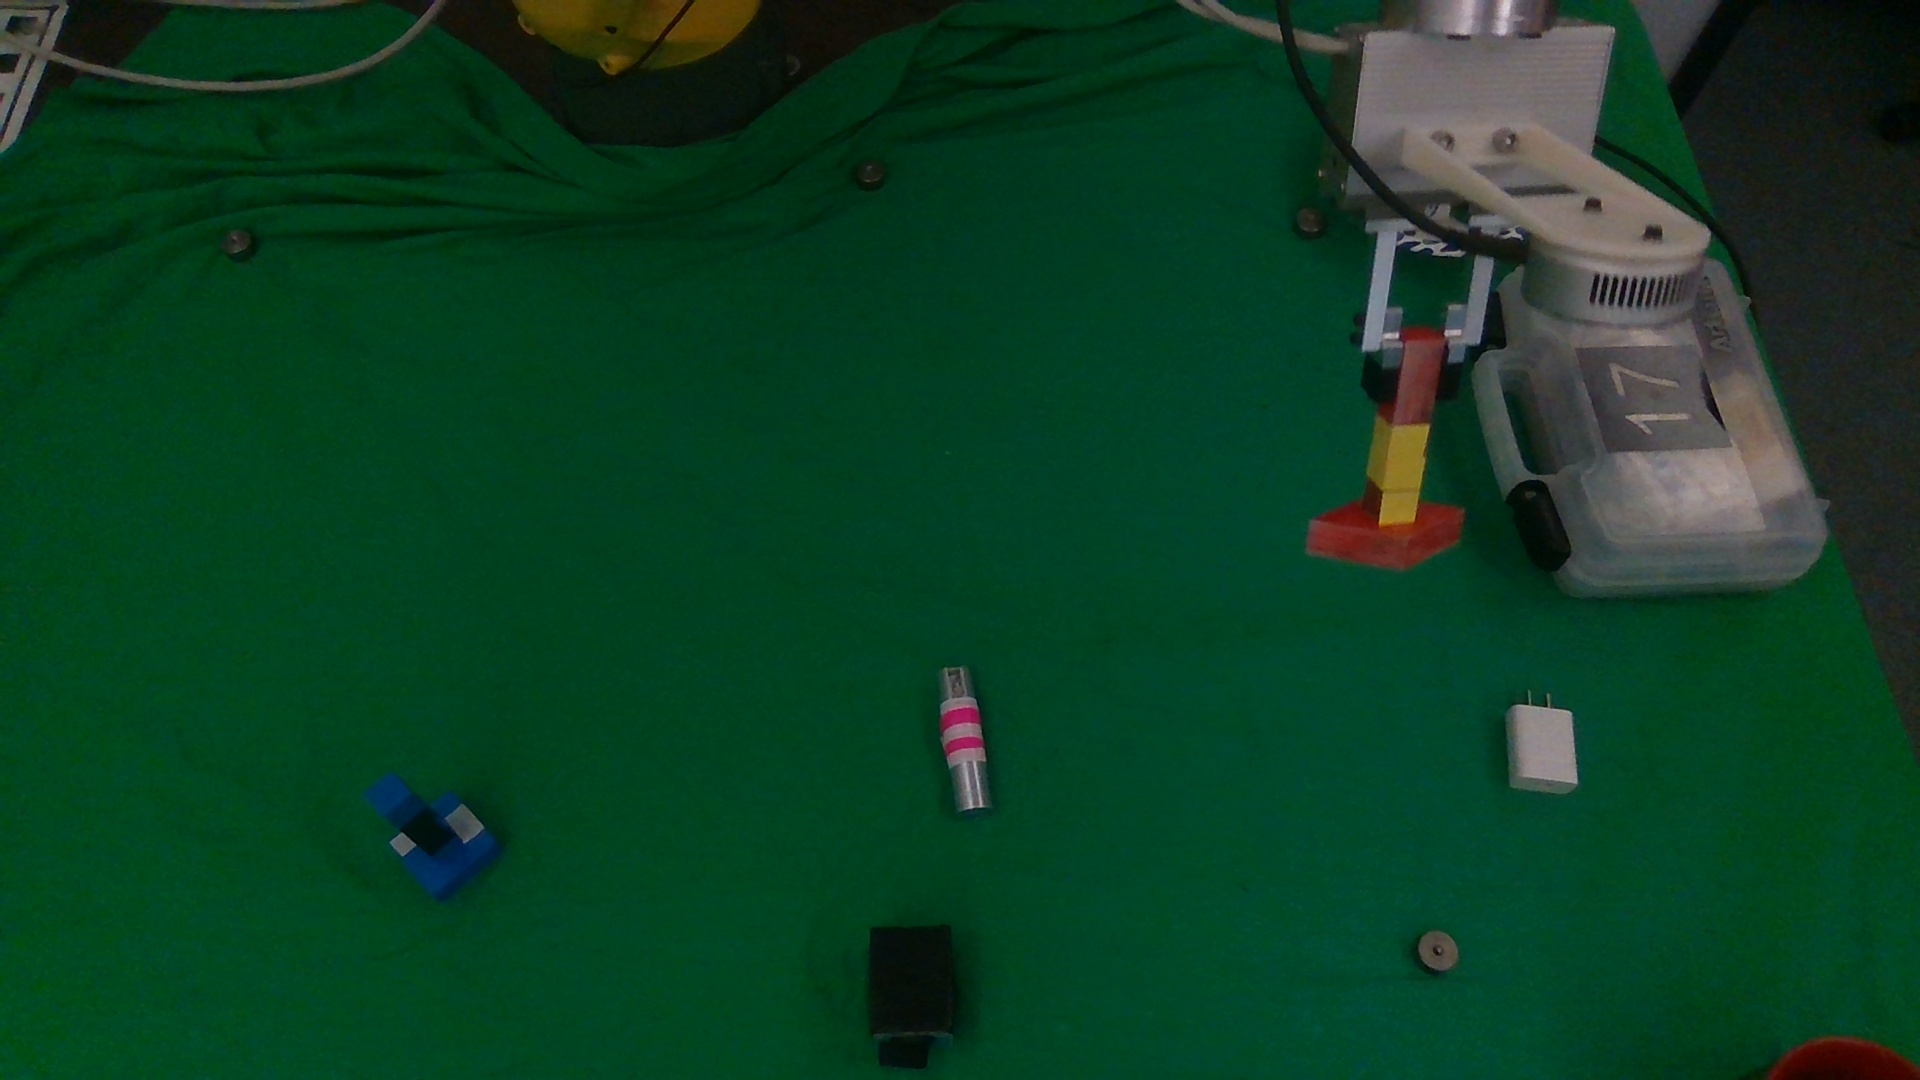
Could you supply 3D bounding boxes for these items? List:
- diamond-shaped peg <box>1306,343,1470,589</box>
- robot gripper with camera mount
[{"bbox_3d":[0.222,-0.038,0.702,0.074,0.122,0.045,-17,30,-30],"label":"diamond-shaped peg"},{"bbox_3d":[0.238,-0.095,0.586,0.119,0.158,0.193,-6,30,-11],"label":"robot gripper with camera mount"}]
